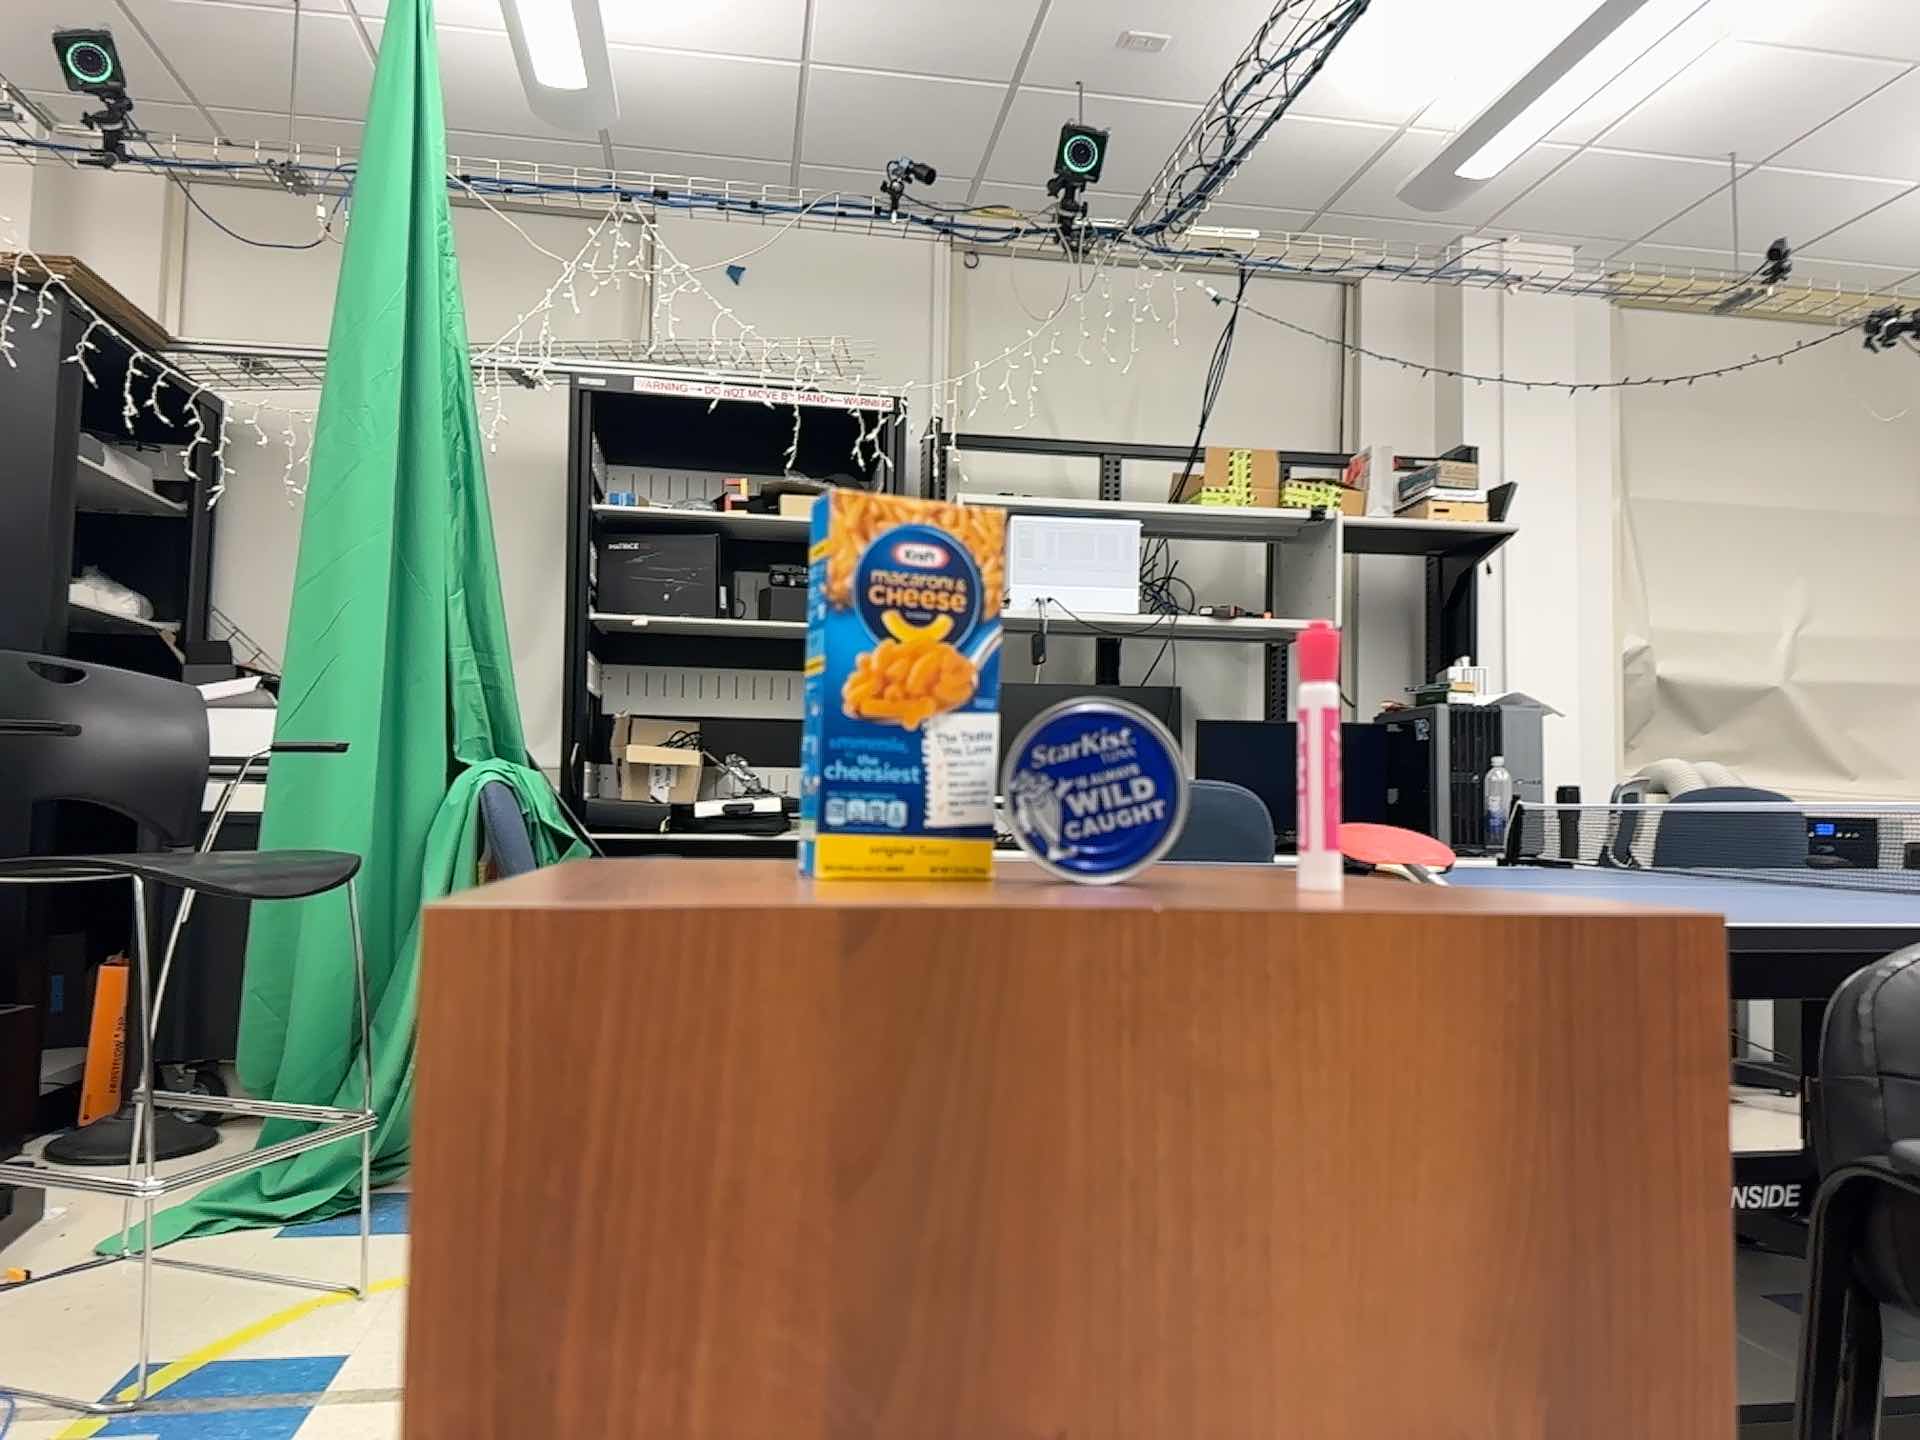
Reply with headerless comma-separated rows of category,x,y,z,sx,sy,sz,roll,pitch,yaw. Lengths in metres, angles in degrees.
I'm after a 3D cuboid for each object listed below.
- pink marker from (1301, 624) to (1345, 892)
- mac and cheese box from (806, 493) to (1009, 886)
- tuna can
pink marker,0.165,0.017,0.612,0.020,0.121,0.020,0,-2,0
mac and cheese box,-0.026,-0.014,0.654,0.088,0.181,0.035,1,-2,-17
tuna can,0.066,0.035,0.640,0.083,0.083,0.034,0,-3,8
